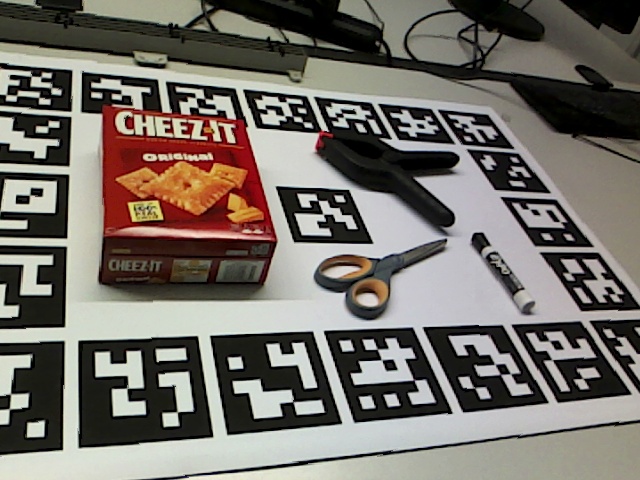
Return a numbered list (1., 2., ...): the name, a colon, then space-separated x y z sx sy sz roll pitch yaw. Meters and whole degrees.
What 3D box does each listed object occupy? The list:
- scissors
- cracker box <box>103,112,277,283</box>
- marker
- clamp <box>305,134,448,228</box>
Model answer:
1. scissors: 0.082 0.024 0.715 0.088 0.016 0.202 40 41 25
2. cracker box: -0.149 -0.052 0.670 0.163 0.072 0.215 1 42 -21
3. marker: 0.215 0.028 0.763 0.019 0.019 0.122 -2 43 -24
4. clamp: 0.077 -0.100 0.865 0.203 0.036 0.165 21 38 1
